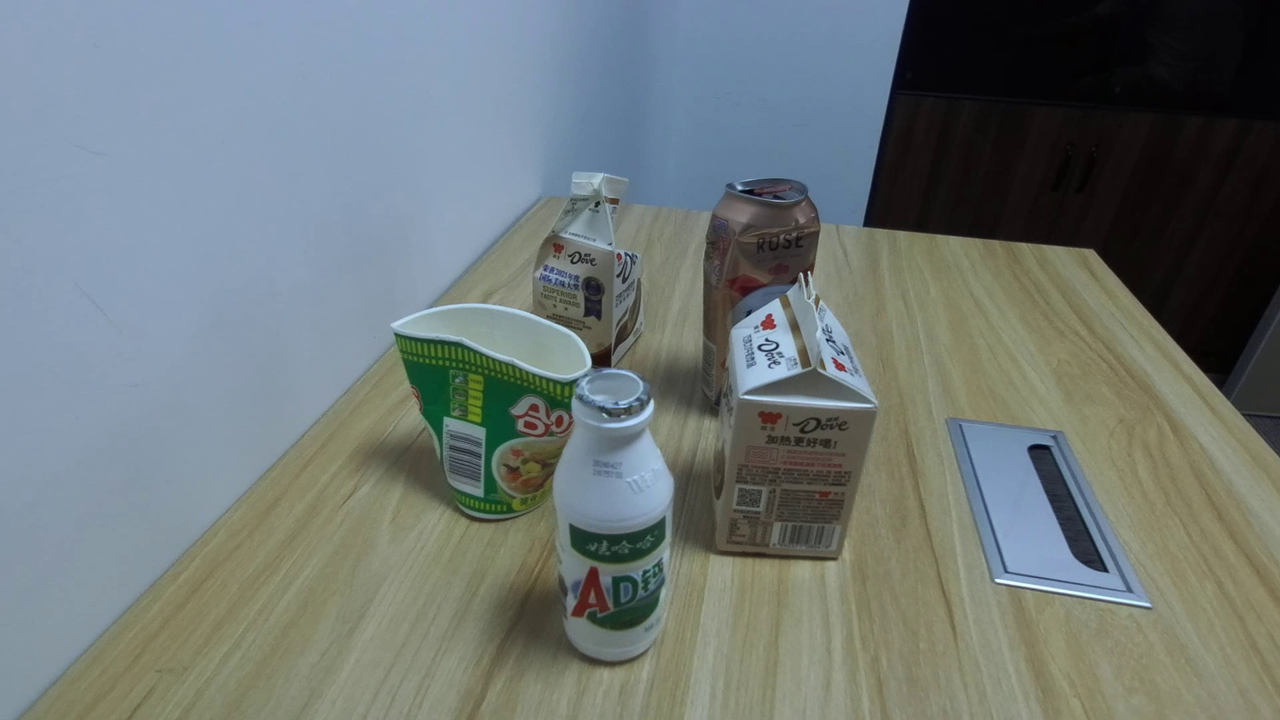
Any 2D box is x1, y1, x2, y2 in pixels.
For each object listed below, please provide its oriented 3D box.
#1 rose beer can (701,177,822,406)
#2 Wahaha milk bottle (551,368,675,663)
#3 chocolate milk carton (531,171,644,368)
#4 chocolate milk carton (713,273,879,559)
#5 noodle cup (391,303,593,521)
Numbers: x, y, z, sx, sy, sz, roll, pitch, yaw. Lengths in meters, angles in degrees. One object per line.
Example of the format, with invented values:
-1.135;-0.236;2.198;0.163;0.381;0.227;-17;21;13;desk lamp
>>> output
0.082;-0.042;0.500;0.076;0.167;0.065;-7;30;-7;rose beer can
-0.012;0.076;0.330;0.056;0.148;0.056;-1;28;1;Wahaha milk bottle
-0.039;-0.080;0.565;0.073;0.155;0.076;14;32;15;chocolate milk carton
0.084;0.031;0.395;0.074;0.148;0.075;3;31;1;chocolate milk carton
-0.084;0.032;0.423;0.114;0.111;0.070;30;43;35;noodle cup
